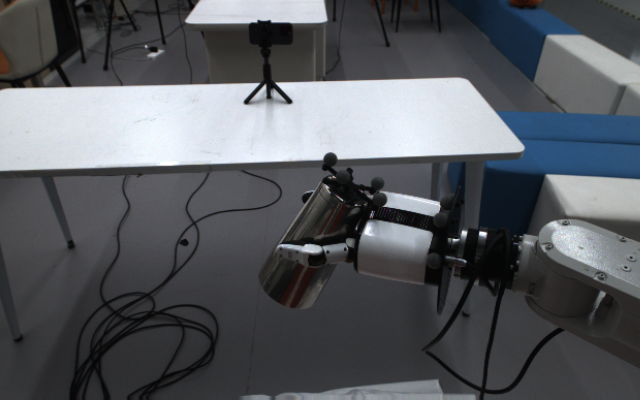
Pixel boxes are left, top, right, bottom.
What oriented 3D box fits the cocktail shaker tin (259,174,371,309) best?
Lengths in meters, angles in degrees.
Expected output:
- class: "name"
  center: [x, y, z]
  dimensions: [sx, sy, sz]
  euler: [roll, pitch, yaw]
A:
- class: "cocktail shaker tin"
  center: [-0.004, 0.050, 0.645]
  dimensions: [0.093, 0.170, 0.093]
  euler: [25, 29, -15]
